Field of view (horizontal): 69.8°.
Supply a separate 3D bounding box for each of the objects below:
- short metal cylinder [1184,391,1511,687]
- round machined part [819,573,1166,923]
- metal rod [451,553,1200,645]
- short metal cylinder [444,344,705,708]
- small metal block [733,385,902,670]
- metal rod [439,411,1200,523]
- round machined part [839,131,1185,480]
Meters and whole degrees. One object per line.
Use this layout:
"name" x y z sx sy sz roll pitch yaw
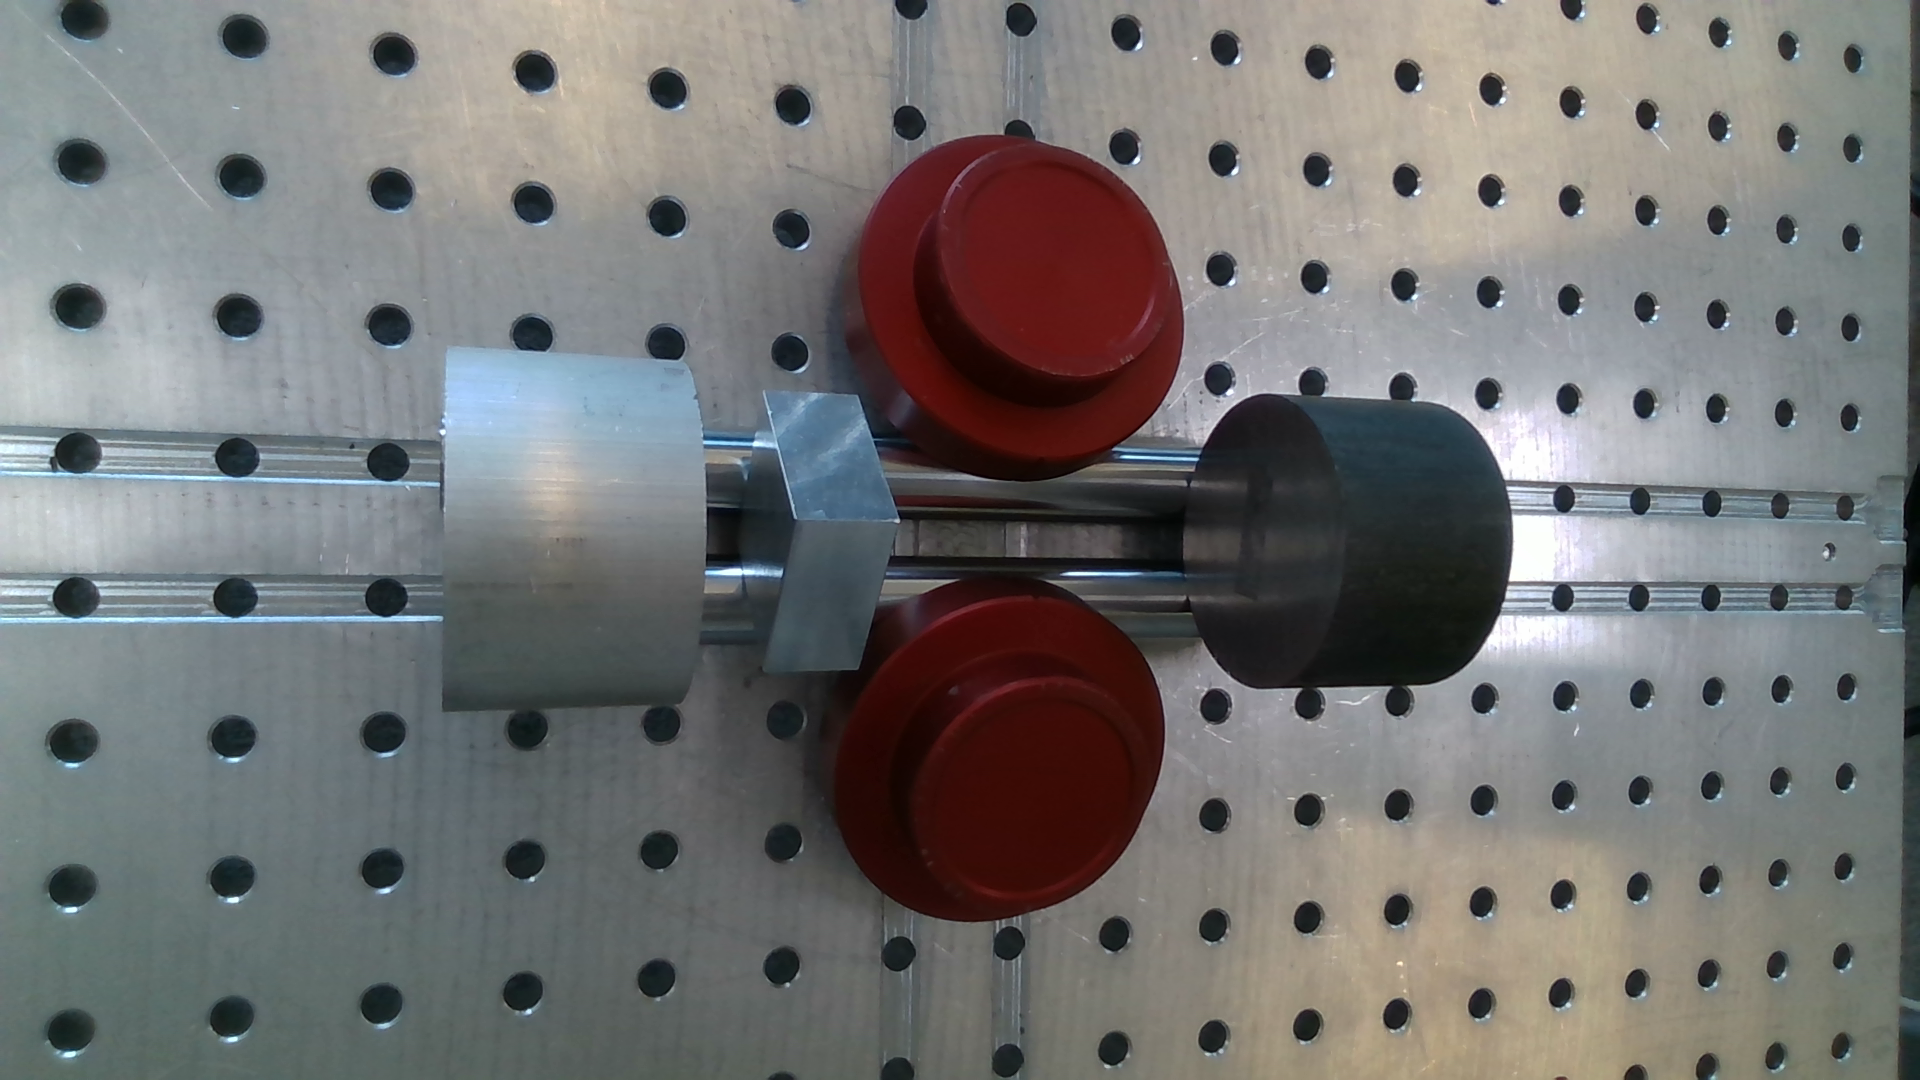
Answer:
"short metal cylinder" 0.104 0.000 0.382 0.050 0.080 0.080 1 90 -20
"round machined part" 0.013 0.062 0.378 0.098 0.042 0.098 -5 107 -18
"metal rod" 0.011 0.017 0.400 0.300 0.025 0.025 1 90 -20
"short metal cylinder" -0.090 -0.002 0.311 0.050 0.080 0.080 1 90 -20
"small metal block" -0.037 -0.003 0.345 0.025 0.050 0.050 1 131 -21
"metal rod" 0.009 -0.018 0.399 0.300 0.025 0.025 1 90 -20
"round machined part" 0.019 -0.069 0.381 0.098 0.042 0.098 5 74 -19
